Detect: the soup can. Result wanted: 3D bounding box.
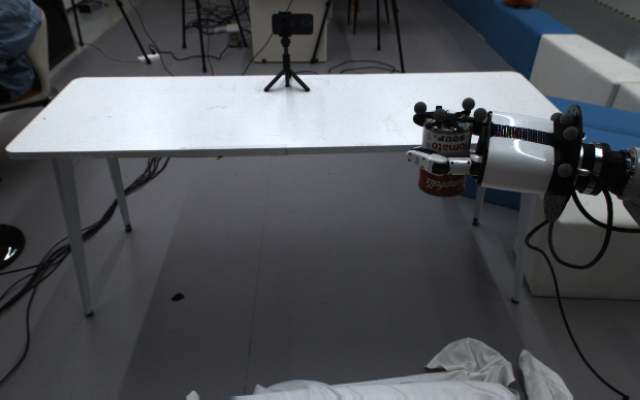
[{"bbox_3d":[0.179,-0.065,0.689,0.067,0.101,0.067,-2,32,1],"label":"soup can"}]
